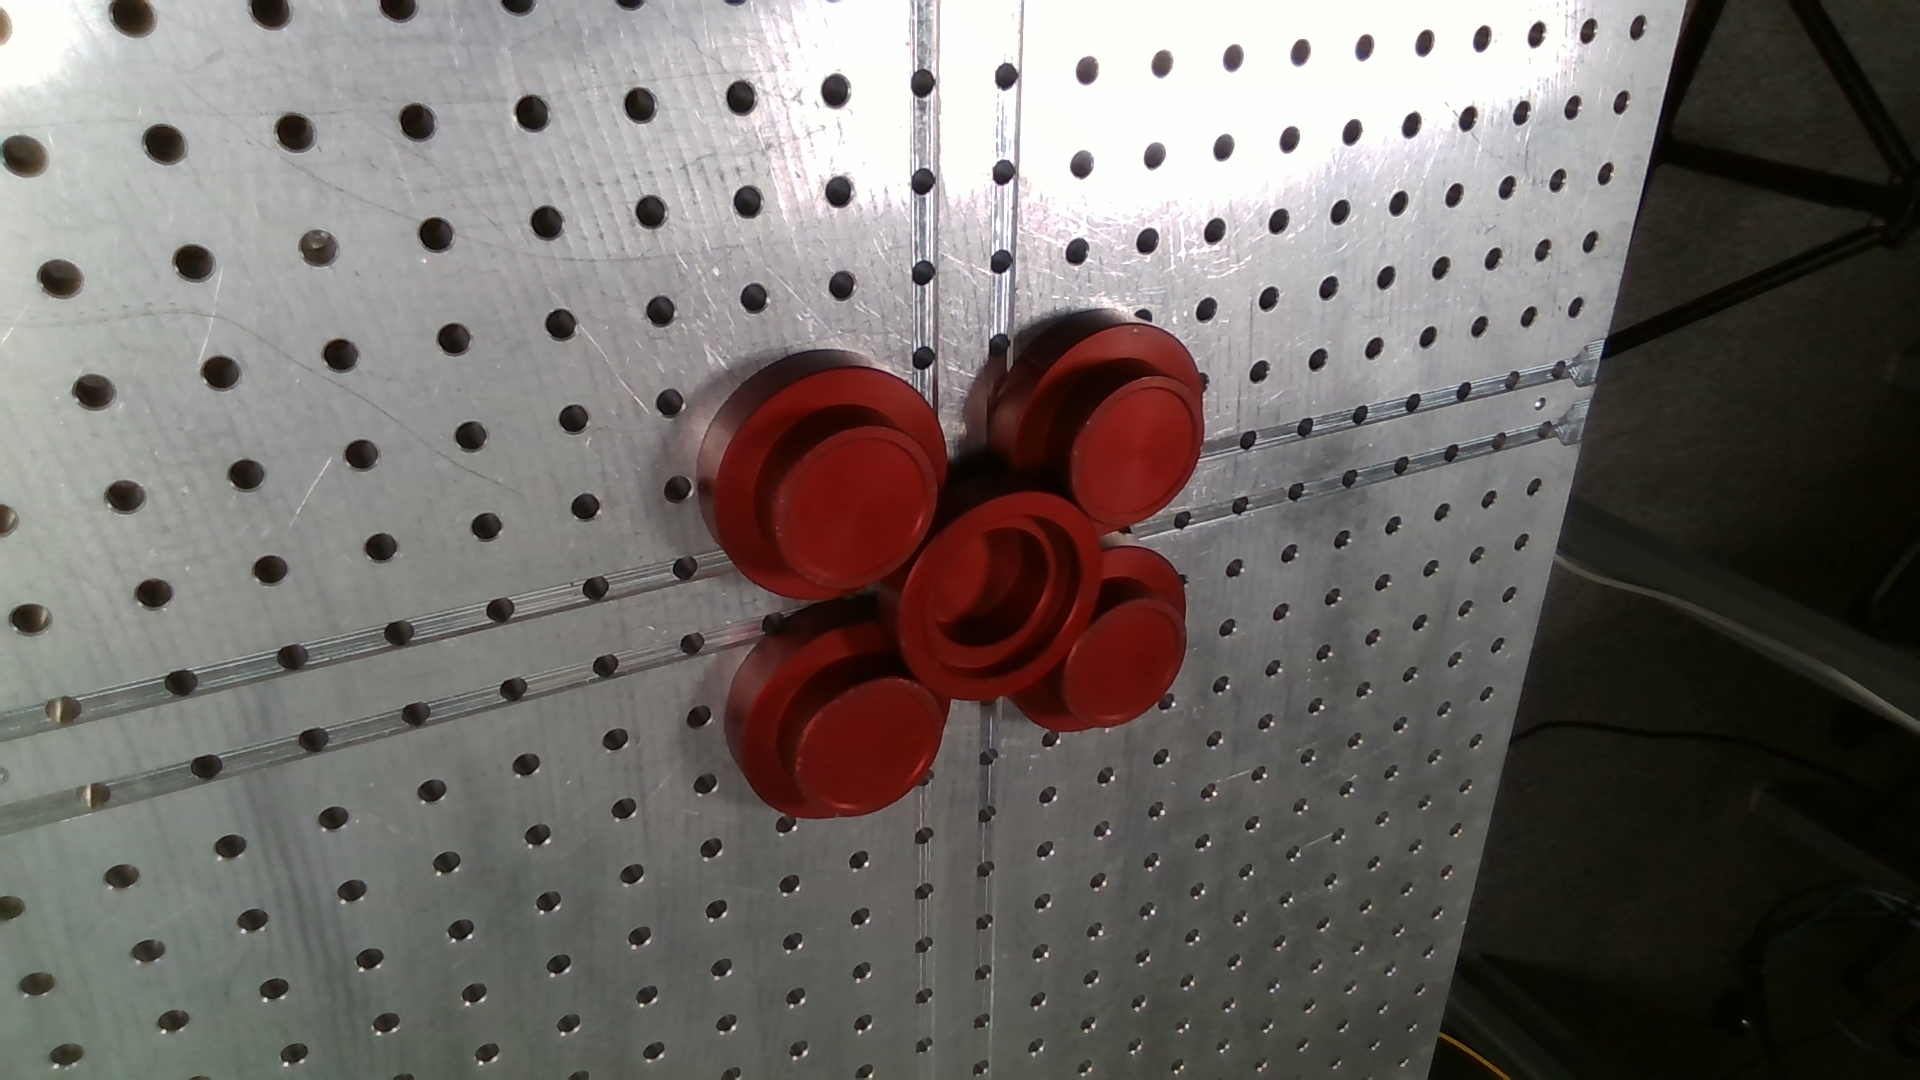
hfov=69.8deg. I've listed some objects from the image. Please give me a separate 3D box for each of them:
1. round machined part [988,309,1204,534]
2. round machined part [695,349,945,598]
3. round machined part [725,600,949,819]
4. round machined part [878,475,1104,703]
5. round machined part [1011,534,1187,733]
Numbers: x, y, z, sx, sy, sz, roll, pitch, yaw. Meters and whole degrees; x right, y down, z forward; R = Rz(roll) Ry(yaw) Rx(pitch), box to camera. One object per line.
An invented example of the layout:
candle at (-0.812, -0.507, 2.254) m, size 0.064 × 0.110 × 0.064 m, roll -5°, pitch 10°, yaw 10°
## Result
round machined part at (0.064, -0.045, 0.587) m, size 0.098 × 0.042 × 0.098 m, roll -14°, pitch 122°, yaw -25°
round machined part at (-0.049, -0.021, 0.532) m, size 0.098 × 0.042 × 0.098 m, roll -14°, pitch 122°, yaw -25°
round machined part at (-0.047, 0.078, 0.586) m, size 0.098 × 0.042 × 0.098 m, roll -14°, pitch 122°, yaw -25°
round machined part at (0.009, 0.017, 0.585) m, size 0.098 × 0.042 × 0.098 m, roll -14°, pitch 122°, yaw -25°
round machined part at (0.065, 0.048, 0.638) m, size 0.098 × 0.042 × 0.098 m, roll -14°, pitch 122°, yaw -25°
